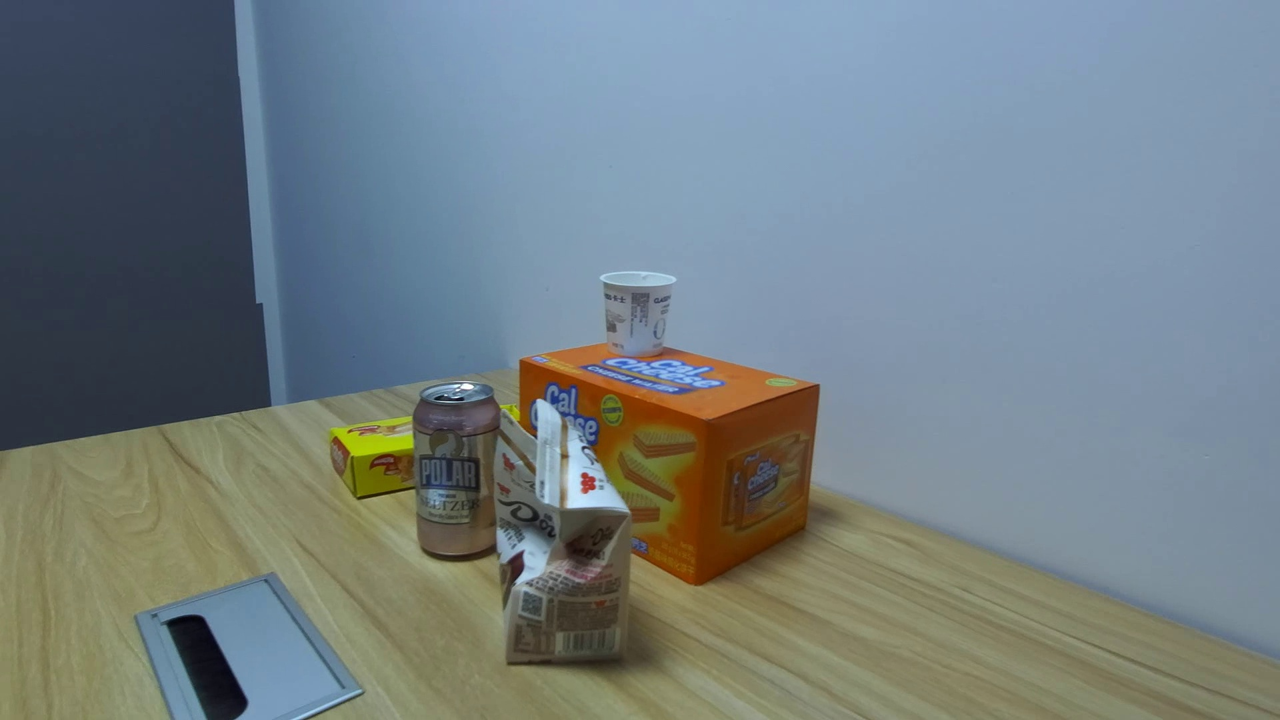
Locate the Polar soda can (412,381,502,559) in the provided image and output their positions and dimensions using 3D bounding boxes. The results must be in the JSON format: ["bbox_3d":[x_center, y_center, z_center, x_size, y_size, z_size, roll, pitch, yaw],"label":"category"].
[{"bbox_3d":[-0.139,0.083,0.546,0.067,0.125,0.067,2,14,0],"label":"Polar soda can"}]

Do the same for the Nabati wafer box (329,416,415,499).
[{"bbox_3d":[-0.190,0.082,0.704,0.204,0.042,0.096,-9,16,-29],"label":"Nabati wafer box"}]

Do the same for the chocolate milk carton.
[{"bbox_3d":[-0.049,0.106,0.426,0.077,0.155,0.089,-4,28,-9],"label":"chocolate milk carton"}]

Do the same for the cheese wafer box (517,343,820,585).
[{"bbox_3d":[0.019,0.071,0.609,0.149,0.129,0.220,-12,20,-44],"label":"cheese wafer box"}]

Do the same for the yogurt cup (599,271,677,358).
[{"bbox_3d":[-0.003,-0.042,0.655,0.072,0.068,0.072,2,17,0],"label":"yogurt cup"}]
